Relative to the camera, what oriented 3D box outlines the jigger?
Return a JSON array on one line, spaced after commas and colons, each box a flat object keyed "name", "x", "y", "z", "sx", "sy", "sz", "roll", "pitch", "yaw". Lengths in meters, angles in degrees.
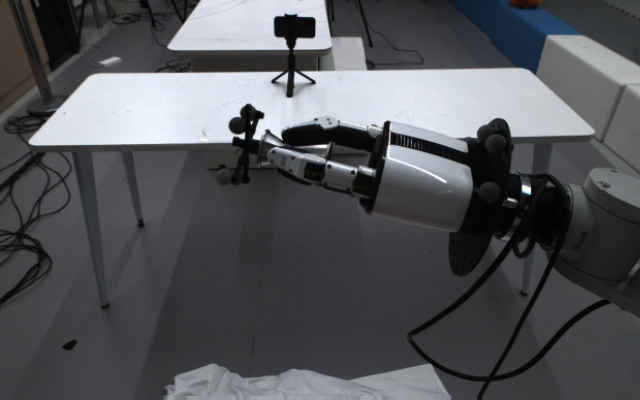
[{"name": "jigger", "x": -0.018, "y": -0.047, "z": 0.489, "sx": 0.071, "sy": 0.043, "sz": 0.043, "roll": 12, "pitch": 36, "yaw": 5}]
